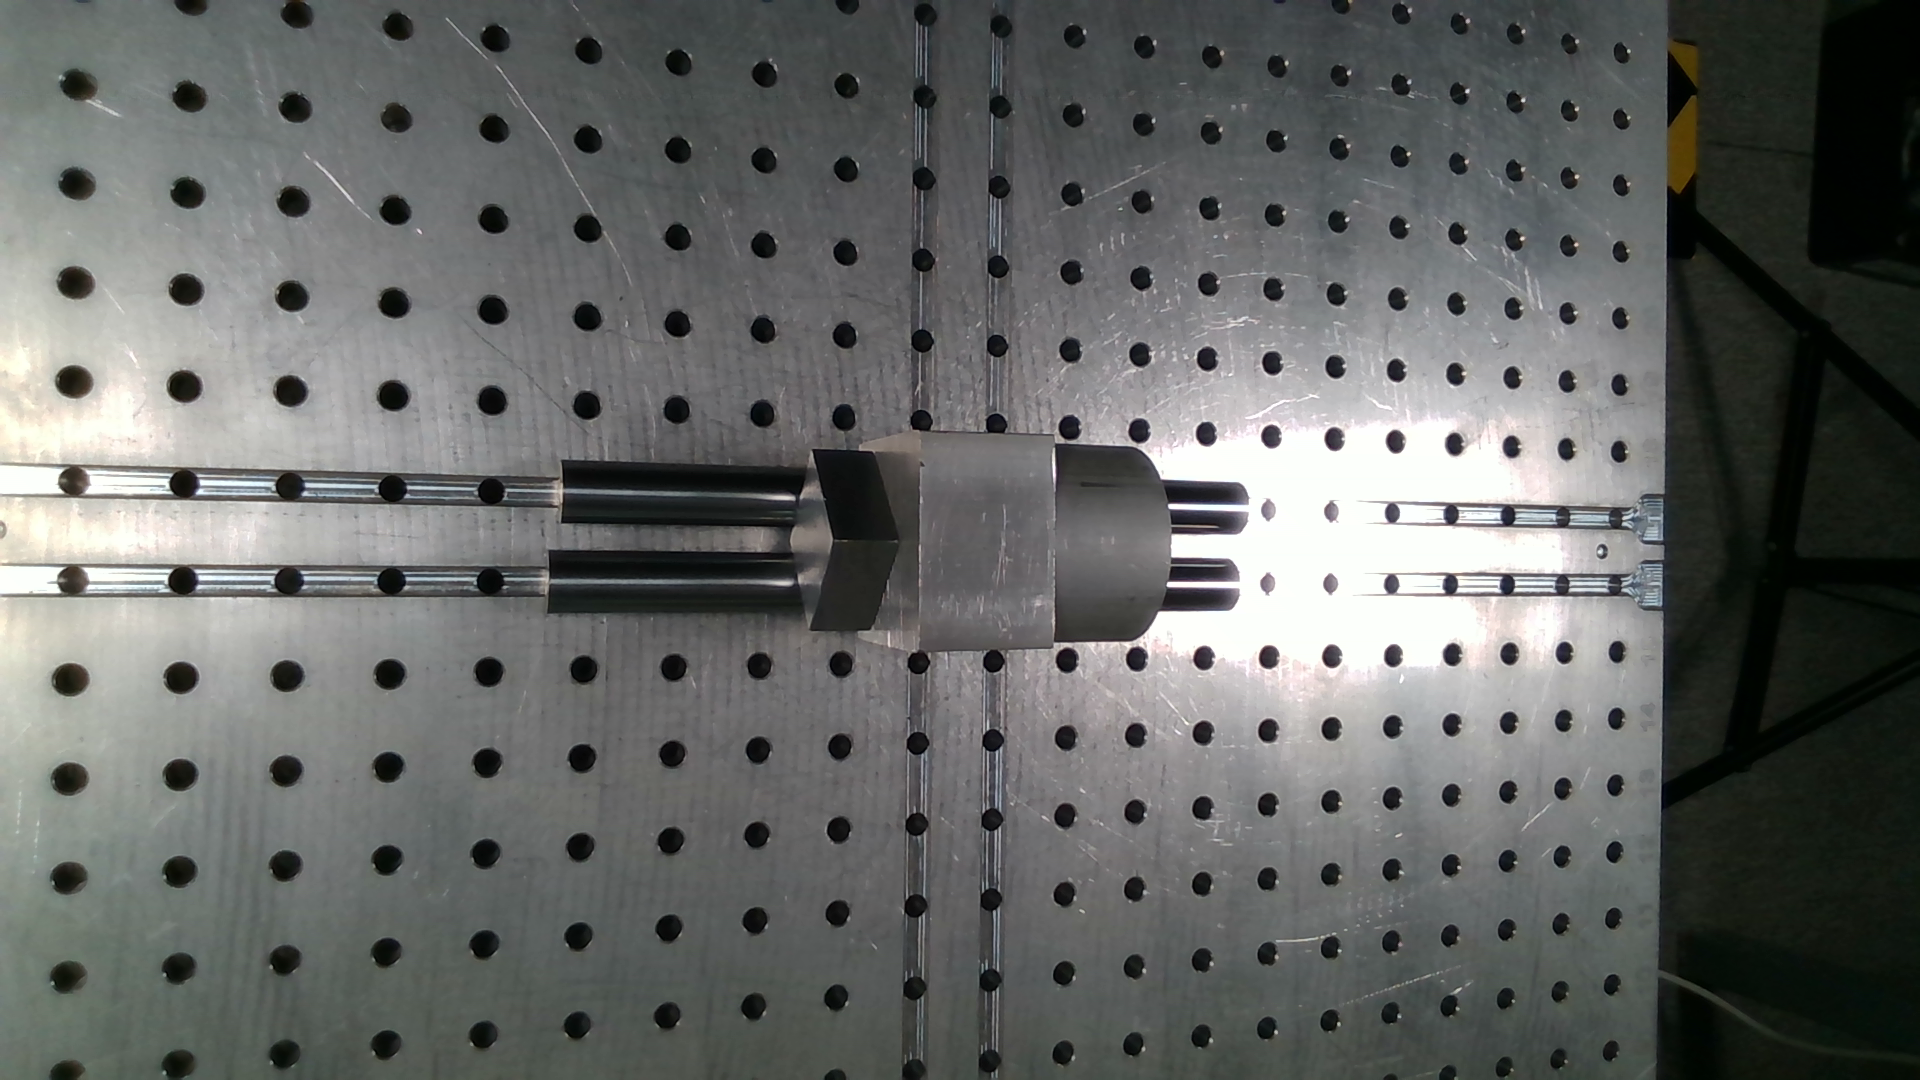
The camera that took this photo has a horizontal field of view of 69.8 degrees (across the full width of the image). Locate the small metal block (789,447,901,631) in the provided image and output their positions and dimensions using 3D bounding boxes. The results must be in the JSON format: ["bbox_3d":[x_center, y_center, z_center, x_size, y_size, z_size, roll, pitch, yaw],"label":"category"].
[{"bbox_3d":[-0.046,0.000,0.534,0.025,0.050,0.050,1,135,-20],"label":"small metal block"}]

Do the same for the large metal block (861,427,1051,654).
[{"bbox_3d":[-0.004,0.000,0.531,0.050,0.080,0.080,0,90,-20],"label":"large metal block"}]

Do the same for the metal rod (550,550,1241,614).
[{"bbox_3d":[-0.018,0.018,0.583,0.300,0.025,0.025,1,90,-20],"label":"metal rod"}]

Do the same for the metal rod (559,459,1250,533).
[{"bbox_3d":[-0.014,-0.017,0.585,0.300,0.025,0.025,1,90,-20],"label":"metal rod"}]

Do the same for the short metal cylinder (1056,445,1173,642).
[{"bbox_3d":[0.044,0.001,0.553,0.050,0.080,0.080,1,90,-20],"label":"short metal cylinder"}]
